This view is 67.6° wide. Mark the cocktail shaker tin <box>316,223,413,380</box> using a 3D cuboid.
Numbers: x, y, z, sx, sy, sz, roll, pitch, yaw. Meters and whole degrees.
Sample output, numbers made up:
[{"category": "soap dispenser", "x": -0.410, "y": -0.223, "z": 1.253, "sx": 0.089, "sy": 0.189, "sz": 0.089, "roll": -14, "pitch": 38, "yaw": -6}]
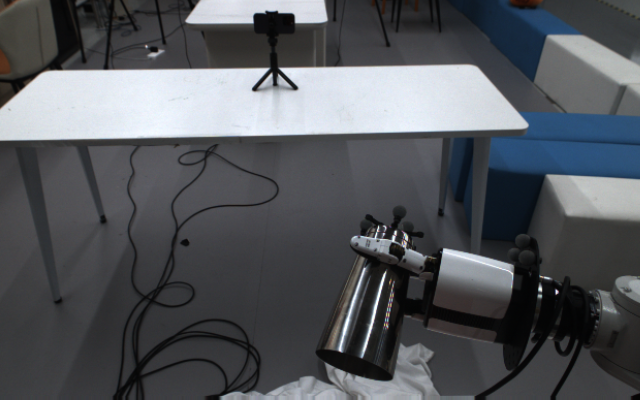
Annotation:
[{"category": "cocktail shaker tin", "x": 0.064, "y": 0.115, "z": 0.591, "sx": 0.093, "sy": 0.093, "sz": 0.170, "roll": 14, "pitch": 59, "yaw": 16}]
